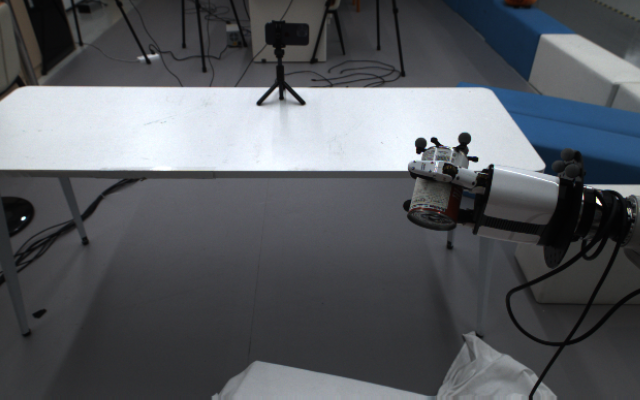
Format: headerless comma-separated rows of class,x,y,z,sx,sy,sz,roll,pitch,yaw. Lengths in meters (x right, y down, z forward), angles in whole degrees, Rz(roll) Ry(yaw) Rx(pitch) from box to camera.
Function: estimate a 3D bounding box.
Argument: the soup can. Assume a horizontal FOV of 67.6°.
soup can,0.166,-0.019,0.680,0.067,0.067,0.101,12,71,14
